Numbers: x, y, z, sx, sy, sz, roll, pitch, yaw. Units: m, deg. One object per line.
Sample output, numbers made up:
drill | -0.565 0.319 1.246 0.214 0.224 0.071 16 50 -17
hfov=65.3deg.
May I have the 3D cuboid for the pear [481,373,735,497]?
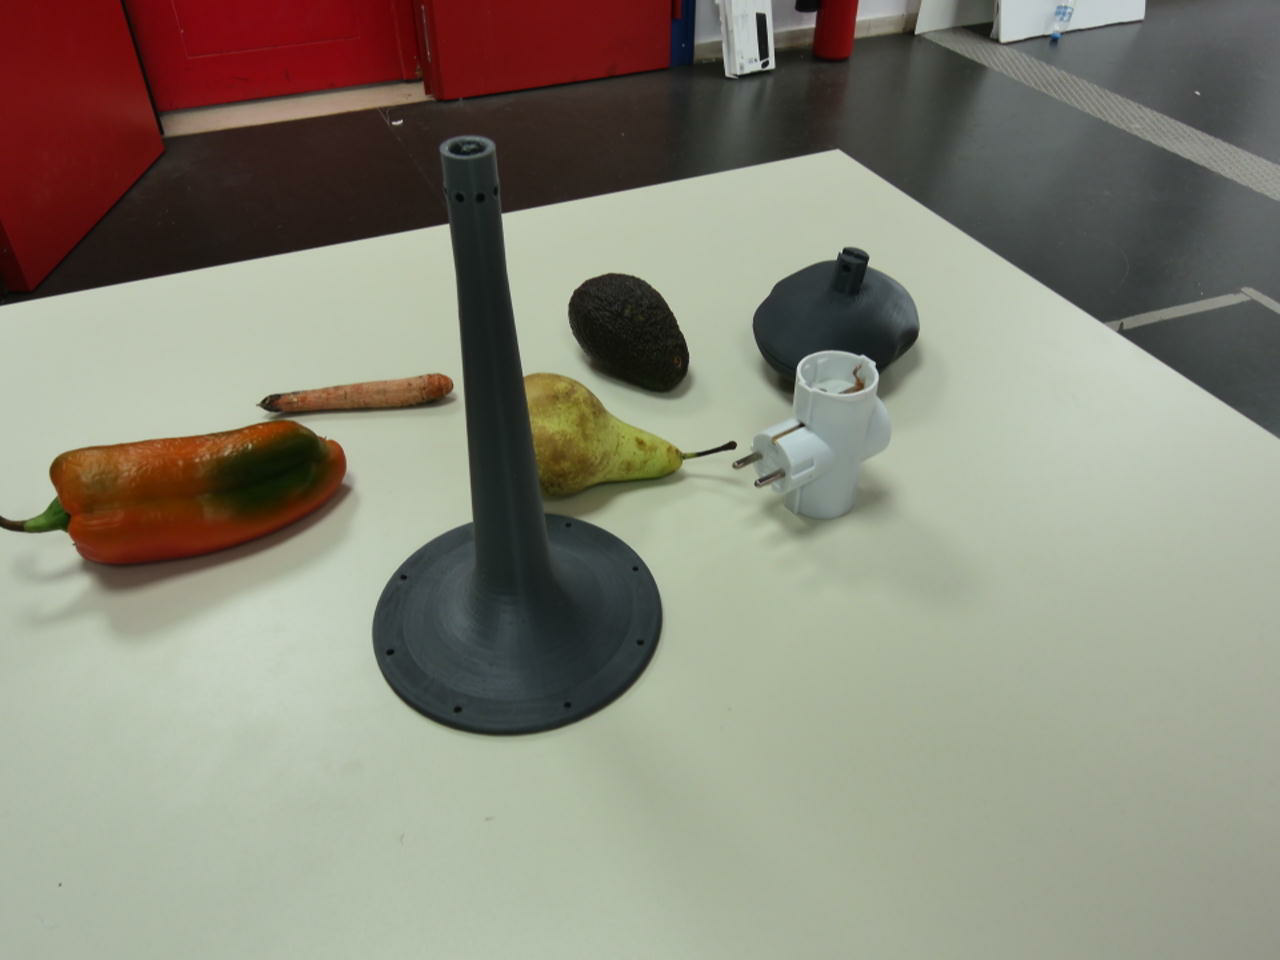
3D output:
pear | -0.021 -0.032 0.593 0.144 0.075 0.071 -12 40 -14
